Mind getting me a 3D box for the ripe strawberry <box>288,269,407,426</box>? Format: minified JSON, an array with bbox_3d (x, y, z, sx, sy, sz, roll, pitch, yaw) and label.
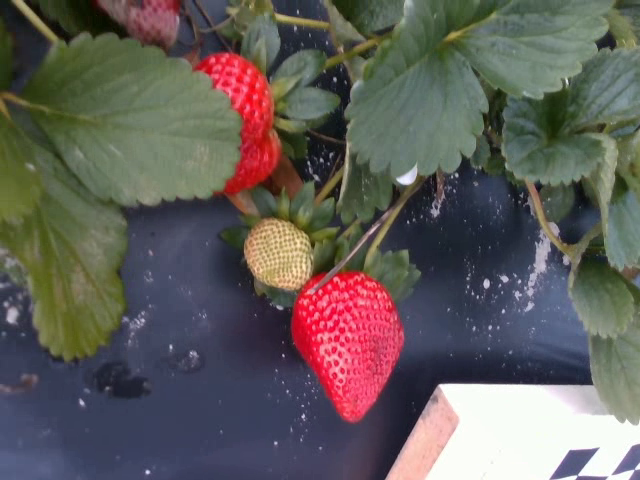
[{"bbox_3d":[0.011,0.045,0.237,0.057,0.056,0.065,-15,42,10],"label":"ripe strawberry"}]
